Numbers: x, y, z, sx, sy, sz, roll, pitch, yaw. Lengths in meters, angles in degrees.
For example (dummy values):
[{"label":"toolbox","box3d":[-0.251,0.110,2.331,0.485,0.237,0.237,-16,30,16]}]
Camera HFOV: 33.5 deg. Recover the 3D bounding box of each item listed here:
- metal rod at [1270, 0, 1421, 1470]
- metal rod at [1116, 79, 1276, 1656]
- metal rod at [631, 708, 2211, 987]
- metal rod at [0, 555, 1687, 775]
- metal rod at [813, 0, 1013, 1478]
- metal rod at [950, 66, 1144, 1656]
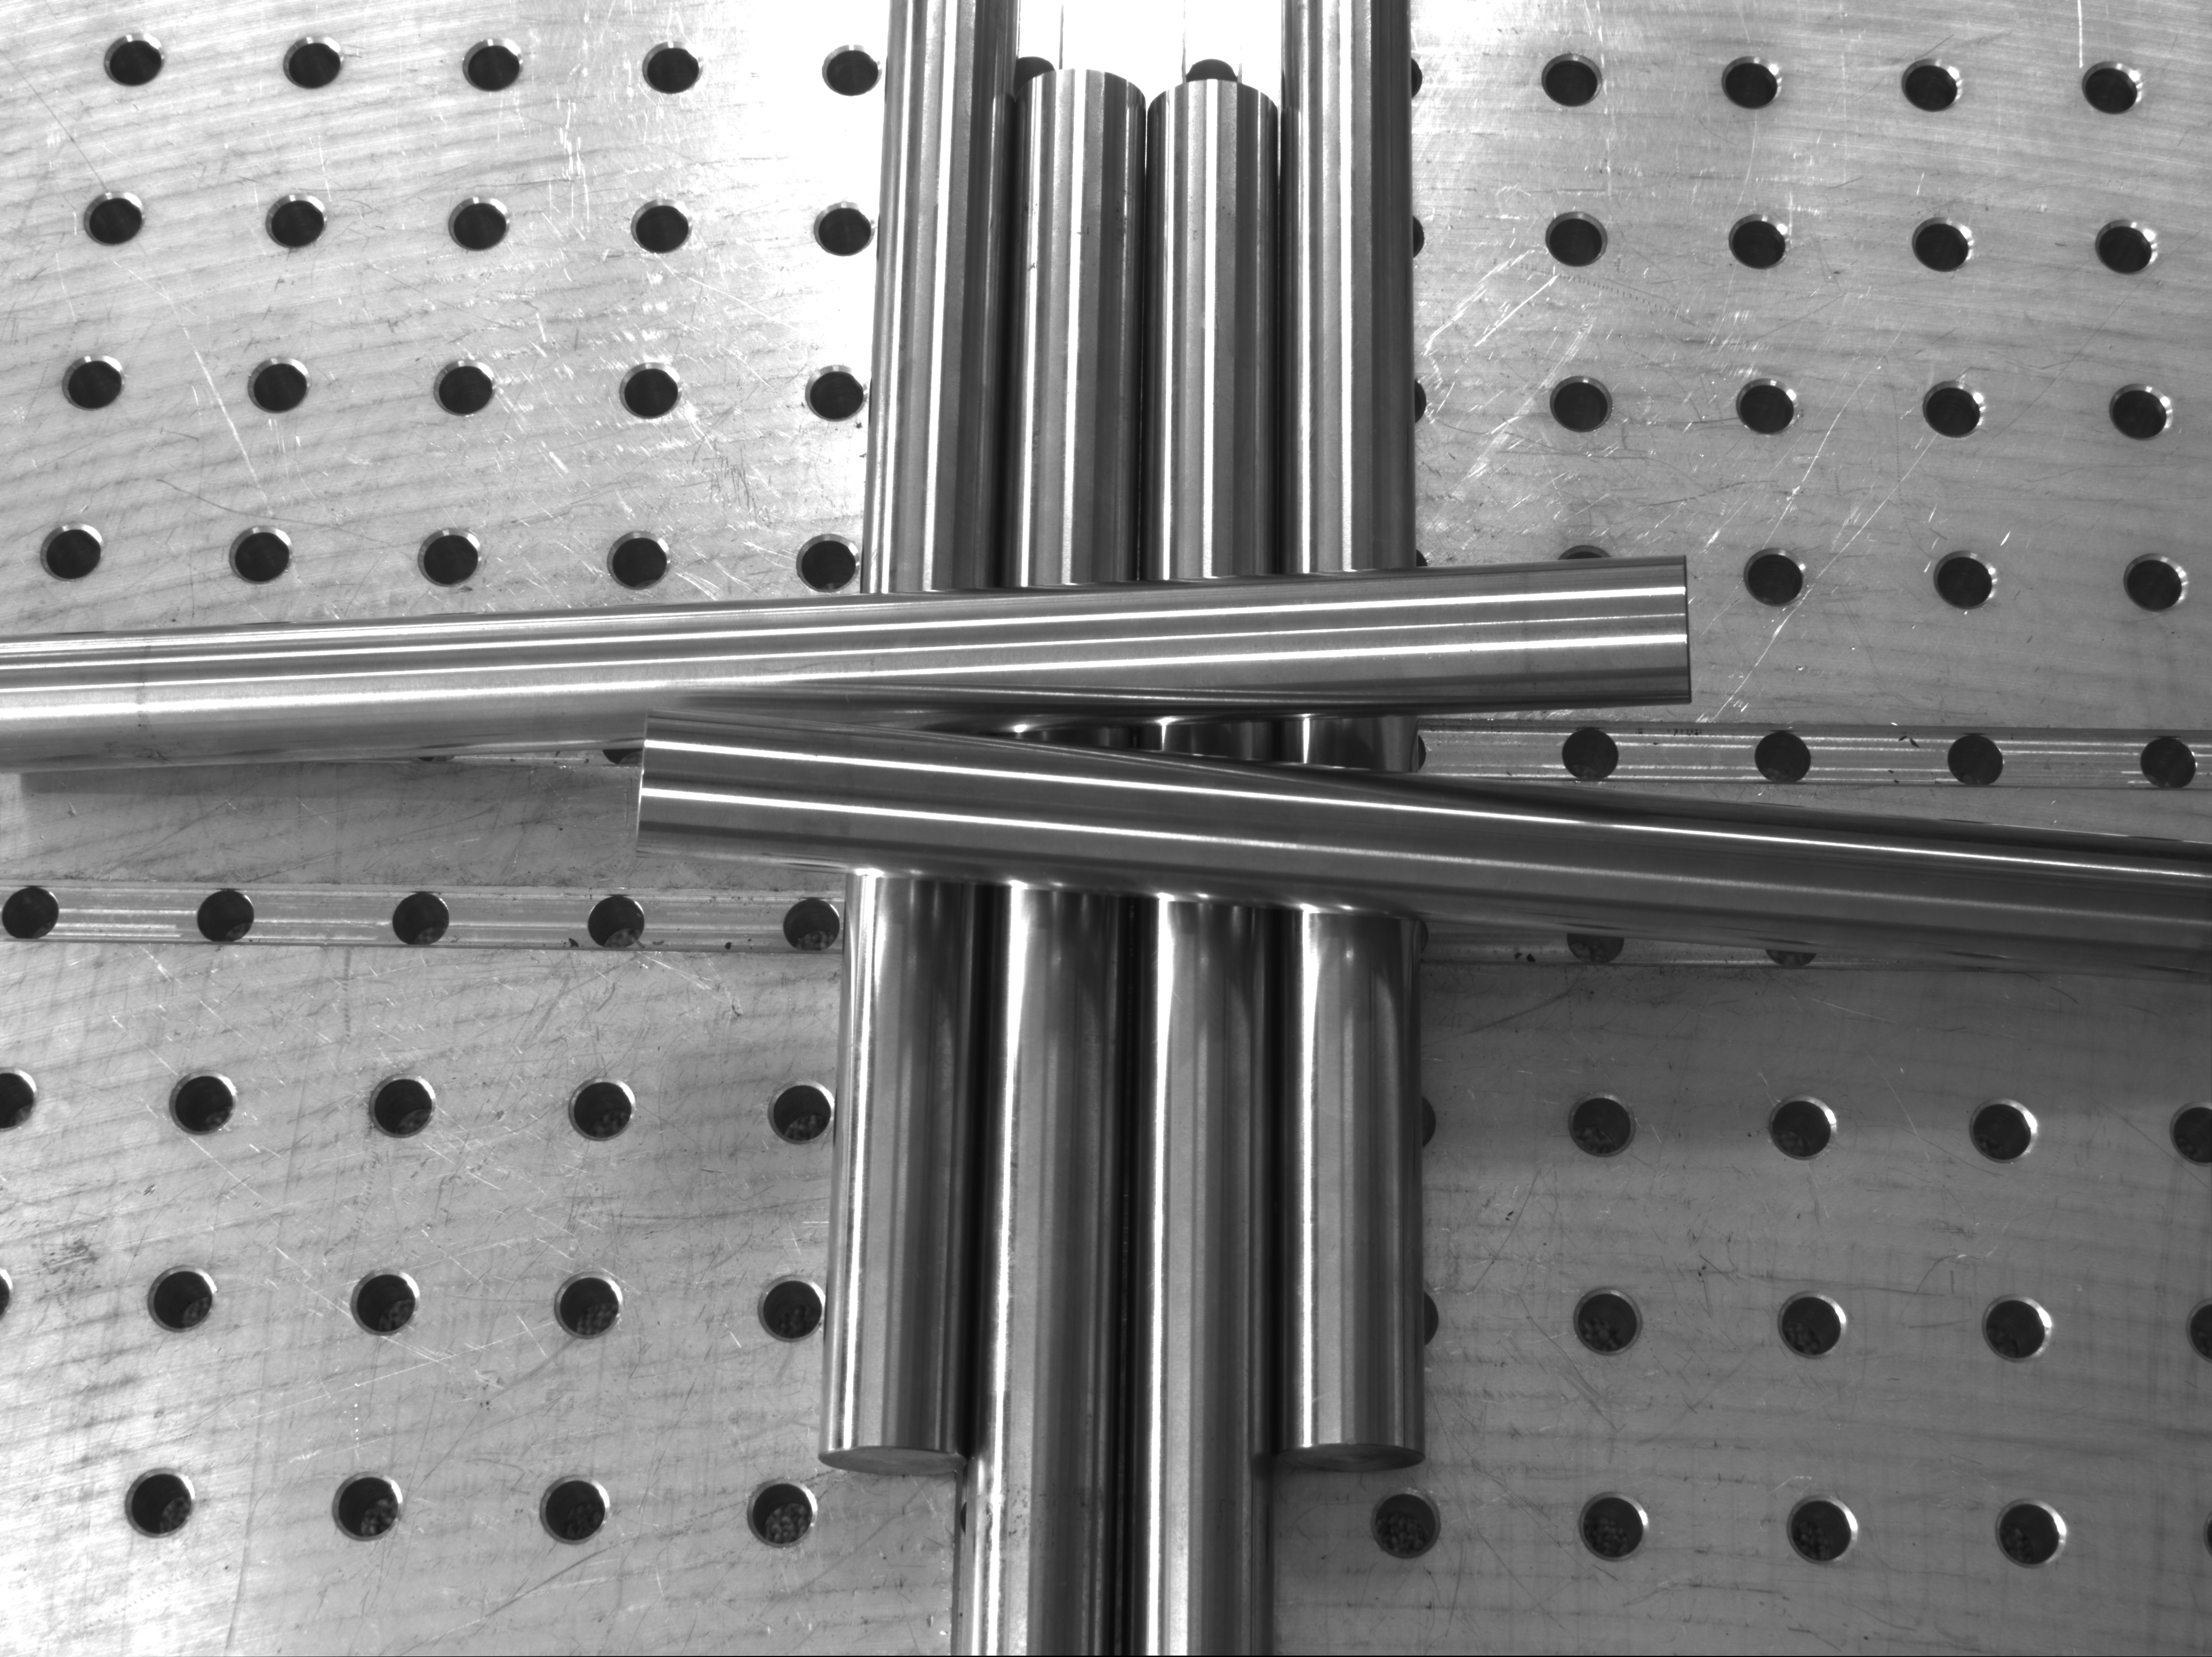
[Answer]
[{"label":"metal rod","box3d":[0.043,-0.037,0.661,0.025,0.025,0.300,1,70,1]},{"label":"metal rod","box3d":[0.017,0.005,0.647,0.025,0.025,0.300,1,70,1]},{"label":"metal rod","box3d":[0.071,0.005,0.624,0.300,0.025,0.025,5,70,-7]},{"label":"metal rod","box3d":[-0.052,-0.028,0.633,0.300,0.025,0.025,-2,70,9]},{"label":"metal rod","box3d":[-0.033,-0.035,0.660,0.025,0.025,0.300,1,70,1]},{"label":"metal rod","box3d":[-0.009,0.003,0.646,0.025,0.025,0.300,1,70,1]}]
